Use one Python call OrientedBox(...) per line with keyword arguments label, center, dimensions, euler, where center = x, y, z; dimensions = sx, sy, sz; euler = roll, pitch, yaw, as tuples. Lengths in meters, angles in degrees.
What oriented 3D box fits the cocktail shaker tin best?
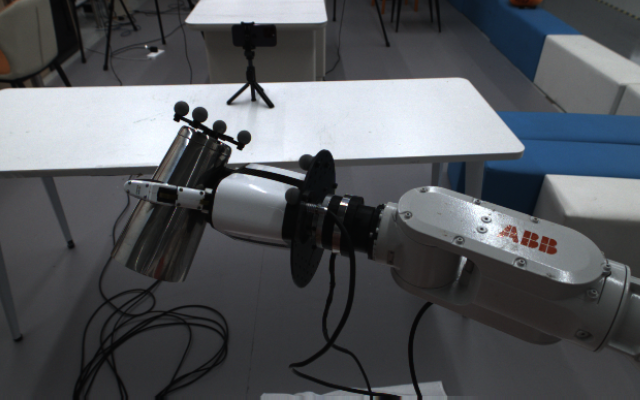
OrientedBox(label="cocktail shaker tin", center=(-0.169, 0.000, 0.581), dimensions=(0.093, 0.170, 0.093), euler=(23, 0, 0))
